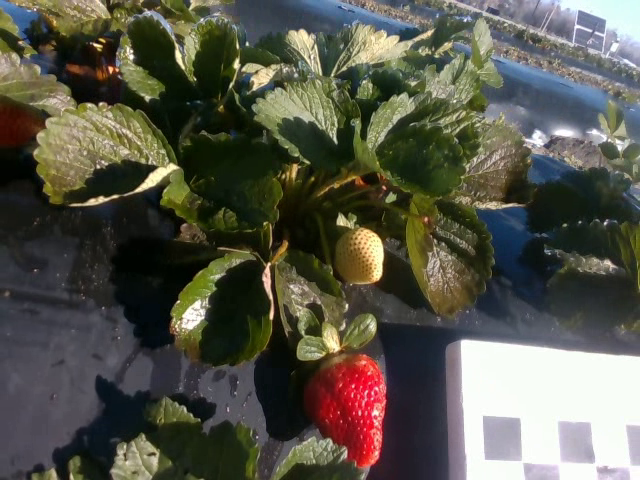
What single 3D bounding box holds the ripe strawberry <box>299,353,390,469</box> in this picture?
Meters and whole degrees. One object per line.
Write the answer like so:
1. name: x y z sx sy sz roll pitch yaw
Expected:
1. ripe strawberry: 0.017 0.092 0.333 0.048 0.069 0.040 -10 -22 -19
